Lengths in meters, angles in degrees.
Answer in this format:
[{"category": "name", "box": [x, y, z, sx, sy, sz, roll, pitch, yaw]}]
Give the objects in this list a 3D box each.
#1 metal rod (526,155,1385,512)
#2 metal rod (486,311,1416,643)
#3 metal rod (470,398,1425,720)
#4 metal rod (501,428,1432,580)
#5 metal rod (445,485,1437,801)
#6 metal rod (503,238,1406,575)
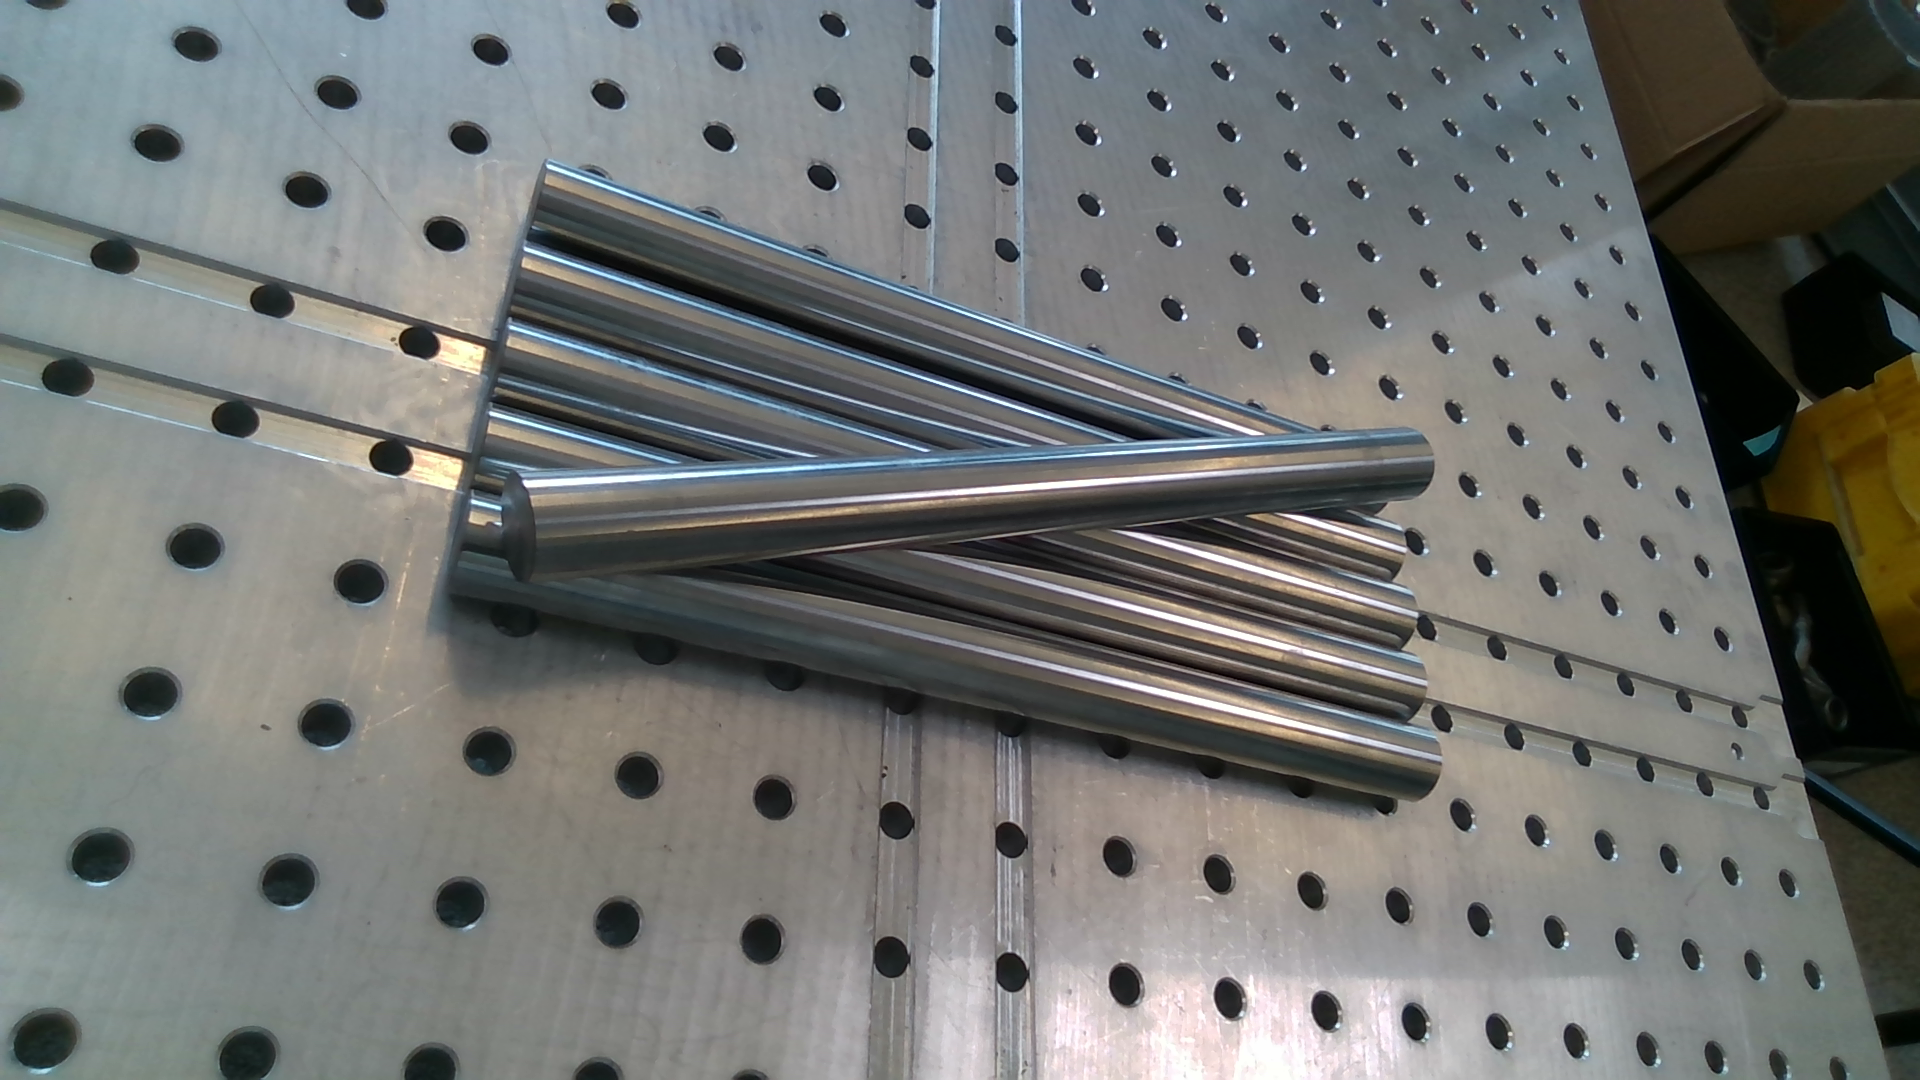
[{"category": "metal rod", "box": [0.017, -0.057, 0.436, 0.300, 0.025, 0.025, 15, 58, -24]}, {"category": "metal rod", "box": [0.015, -0.010, 0.410, 0.300, 0.025, 0.025, 15, 58, -24]}, {"category": "metal rod", "box": [0.014, 0.013, 0.399, 0.300, 0.025, 0.025, 15, 58, -24]}, {"category": "metal rod", "box": [0.026, -0.015, 0.388, 0.300, 0.025, 0.025, -5, 68, -34]}, {"category": "metal rod", "box": [0.014, 0.036, 0.386, 0.300, 0.025, 0.025, 15, 58, -24]}, {"category": "metal rod", "box": [0.016, -0.031, 0.421, 0.300, 0.025, 0.025, 15, 58, -24]}]
